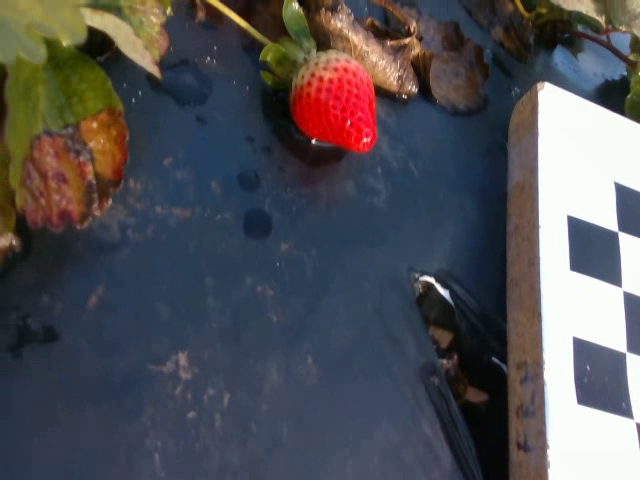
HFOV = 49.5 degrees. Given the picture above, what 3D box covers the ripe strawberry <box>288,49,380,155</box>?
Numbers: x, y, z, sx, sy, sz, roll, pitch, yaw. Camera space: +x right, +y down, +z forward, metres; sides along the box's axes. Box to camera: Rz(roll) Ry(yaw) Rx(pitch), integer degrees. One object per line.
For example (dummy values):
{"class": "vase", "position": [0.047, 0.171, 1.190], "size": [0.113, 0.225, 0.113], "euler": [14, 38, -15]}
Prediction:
{"class": "ripe strawberry", "position": [0.007, -0.046, 0.232], "size": [0.035, 0.043, 0.030], "euler": [-19, -17, -33]}
